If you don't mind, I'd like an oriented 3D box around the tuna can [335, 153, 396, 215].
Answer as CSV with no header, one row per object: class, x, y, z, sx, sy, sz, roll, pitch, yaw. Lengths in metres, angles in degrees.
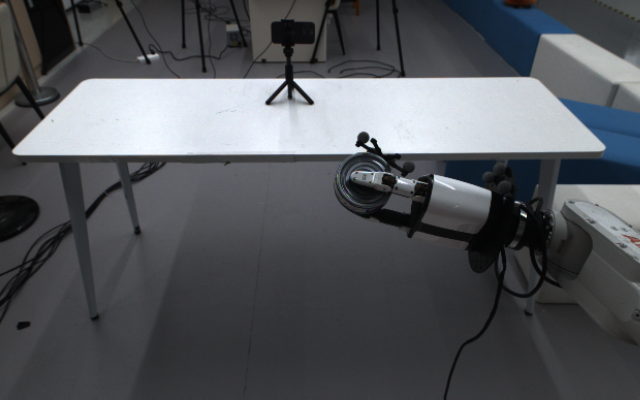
tuna can,0.067,-0.018,0.696,0.085,0.034,0.085,0,74,0
